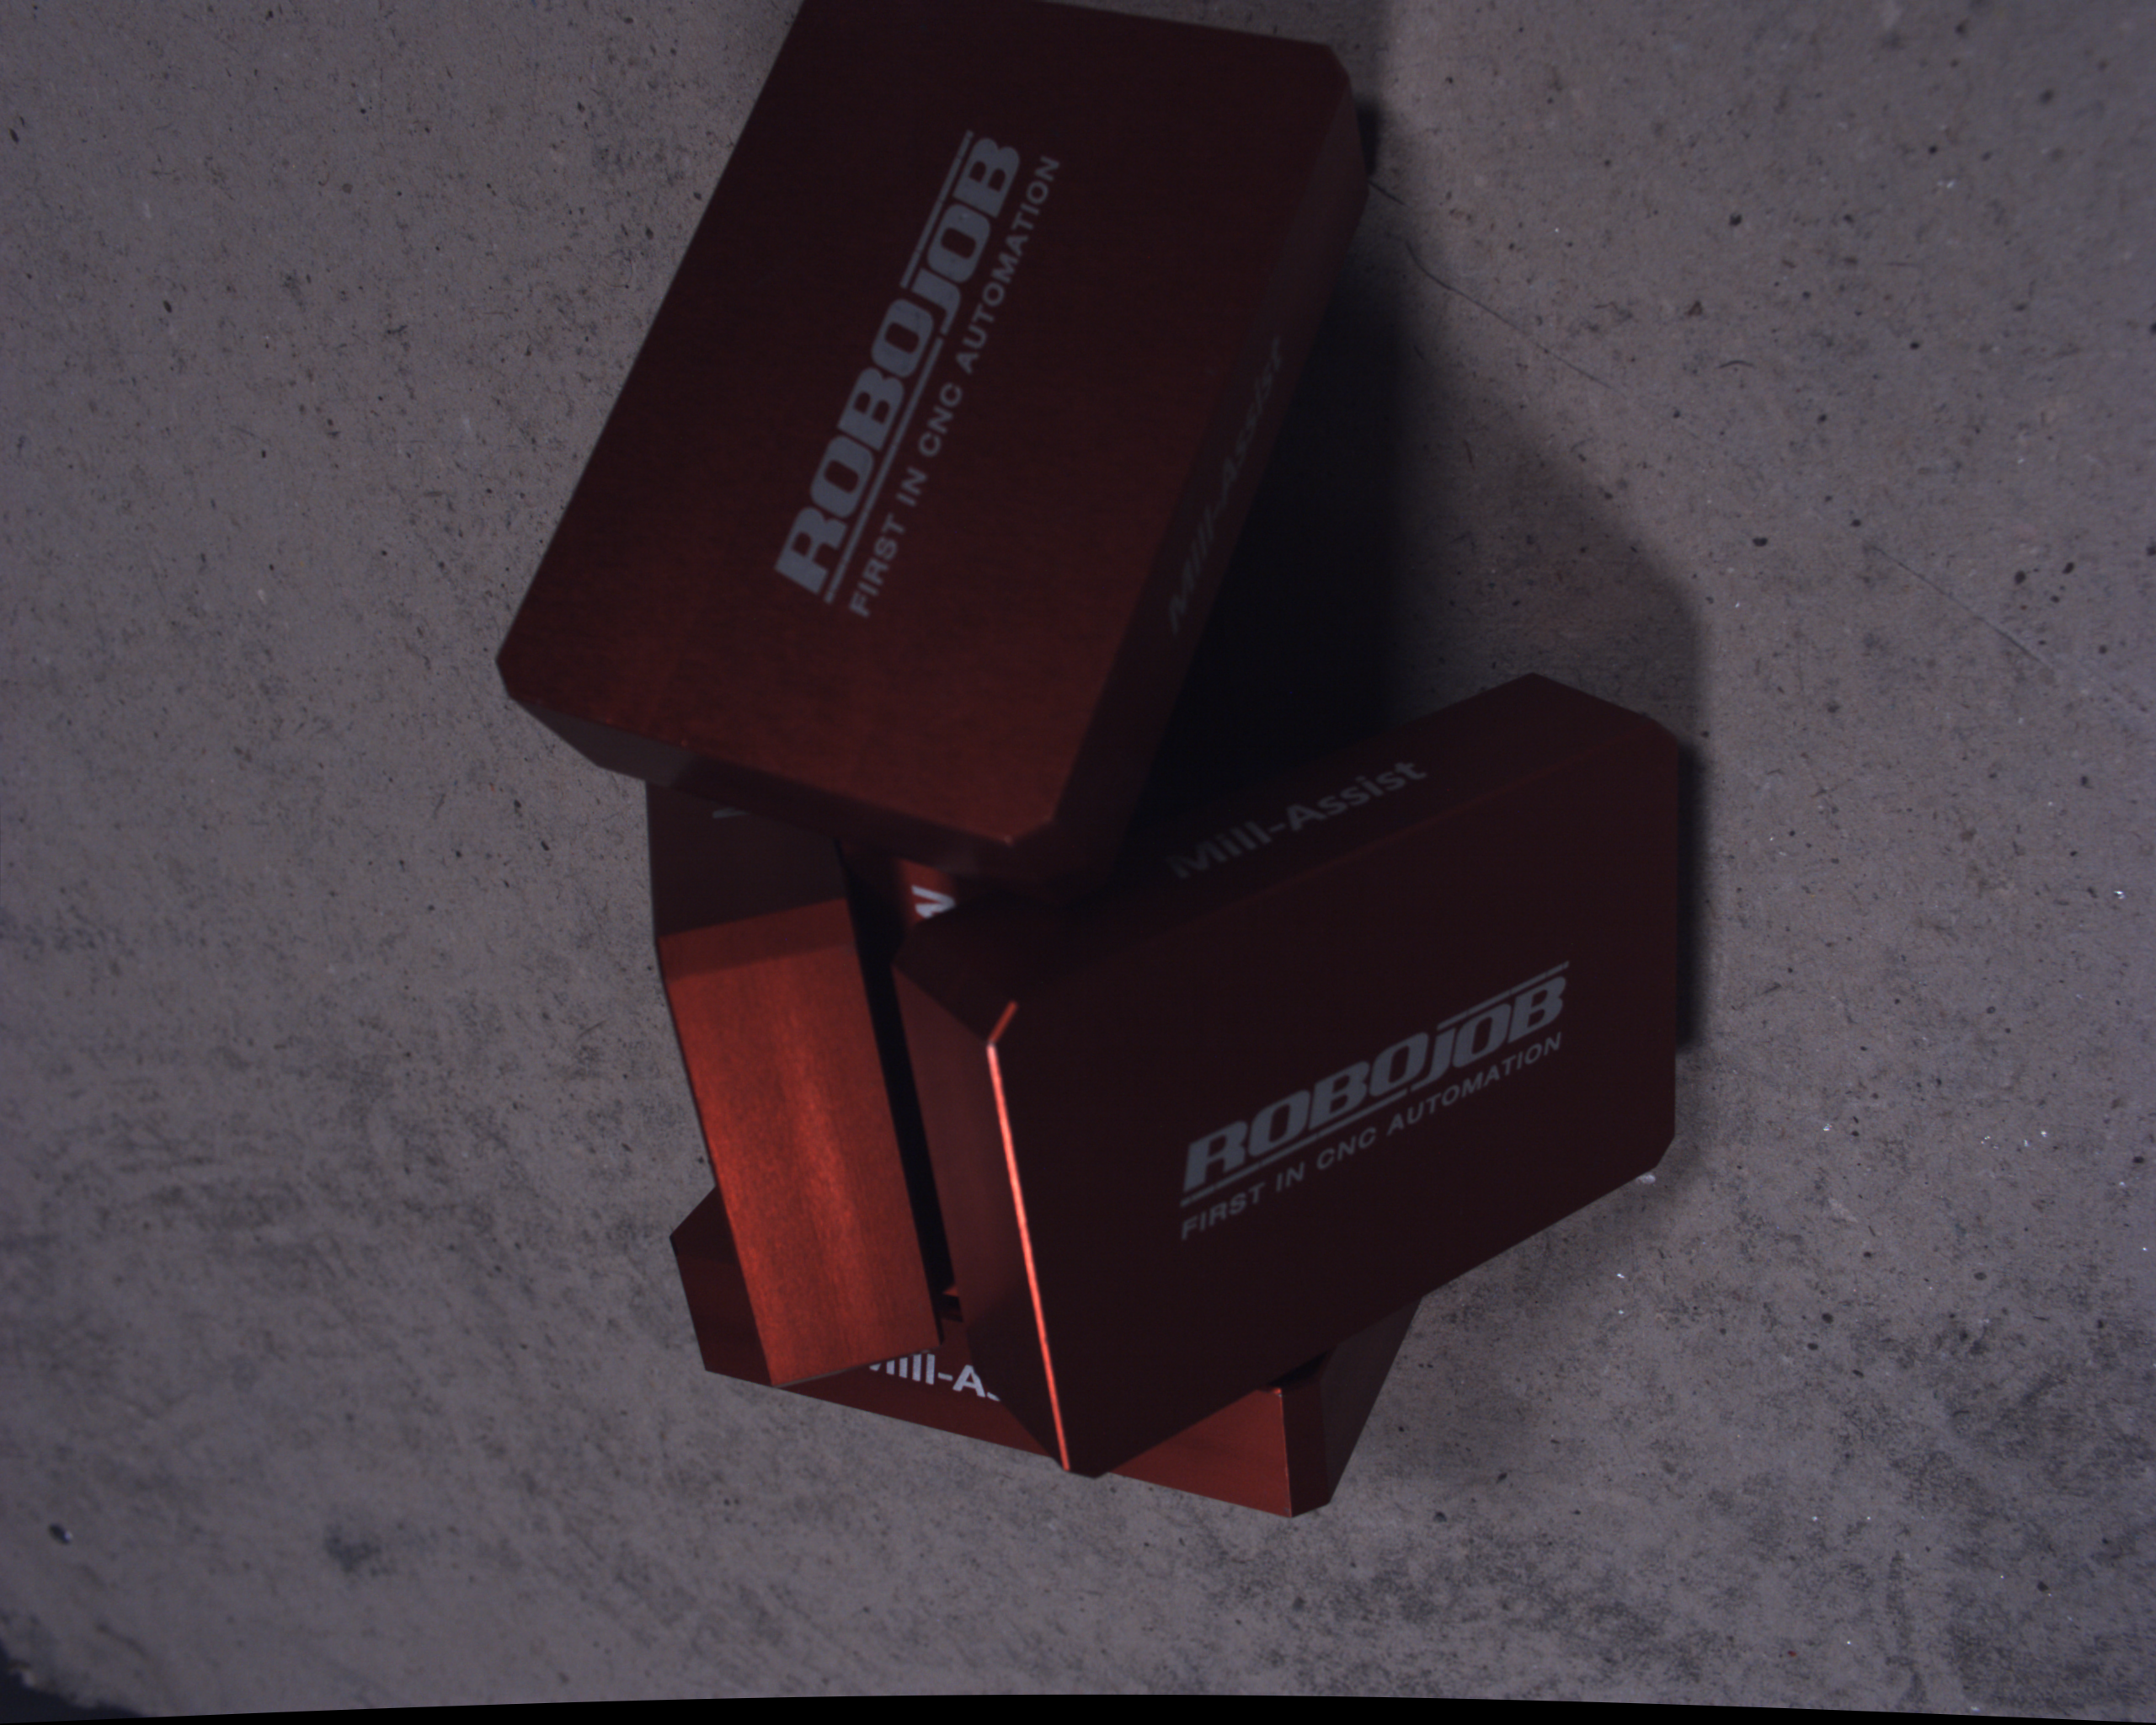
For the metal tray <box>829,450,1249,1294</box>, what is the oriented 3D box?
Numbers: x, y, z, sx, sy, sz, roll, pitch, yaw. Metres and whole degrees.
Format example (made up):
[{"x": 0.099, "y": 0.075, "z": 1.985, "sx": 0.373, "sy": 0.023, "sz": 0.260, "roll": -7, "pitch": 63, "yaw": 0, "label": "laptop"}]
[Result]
[{"x": -0.001, "y": 0.003, "z": 0.367, "sx": 0.030, "sy": 0.090, "sz": 0.129, "roll": 7, "pitch": 122, "yaw": 24, "label": "metal tray"}]

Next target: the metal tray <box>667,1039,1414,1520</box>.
[{"x": -0.001, "y": 0.072, "z": 0.410, "sx": 0.130, "sy": 0.090, "sz": 0.030, "roll": 7, "pitch": 121, "yaw": 24, "label": "metal tray"}]

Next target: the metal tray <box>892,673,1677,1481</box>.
[{"x": 0.040, "y": 0.032, "z": 0.341, "sx": 0.030, "sy": 0.131, "sz": 0.089, "roll": 33, "pitch": 138, "yaw": 51, "label": "metal tray"}]

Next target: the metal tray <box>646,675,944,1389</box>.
[{"x": -0.055, "y": 0.021, "z": 0.386, "sx": 0.030, "sy": 0.130, "sz": 0.089, "roll": -12, "pitch": 118, "yaw": -7, "label": "metal tray"}]

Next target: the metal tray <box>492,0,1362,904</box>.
[{"x": -0.020, "y": -0.068, "z": 0.316, "sx": 0.090, "sy": 0.130, "sz": 0.030, "roll": 16, "pitch": 166, "yaw": 18, "label": "metal tray"}]
